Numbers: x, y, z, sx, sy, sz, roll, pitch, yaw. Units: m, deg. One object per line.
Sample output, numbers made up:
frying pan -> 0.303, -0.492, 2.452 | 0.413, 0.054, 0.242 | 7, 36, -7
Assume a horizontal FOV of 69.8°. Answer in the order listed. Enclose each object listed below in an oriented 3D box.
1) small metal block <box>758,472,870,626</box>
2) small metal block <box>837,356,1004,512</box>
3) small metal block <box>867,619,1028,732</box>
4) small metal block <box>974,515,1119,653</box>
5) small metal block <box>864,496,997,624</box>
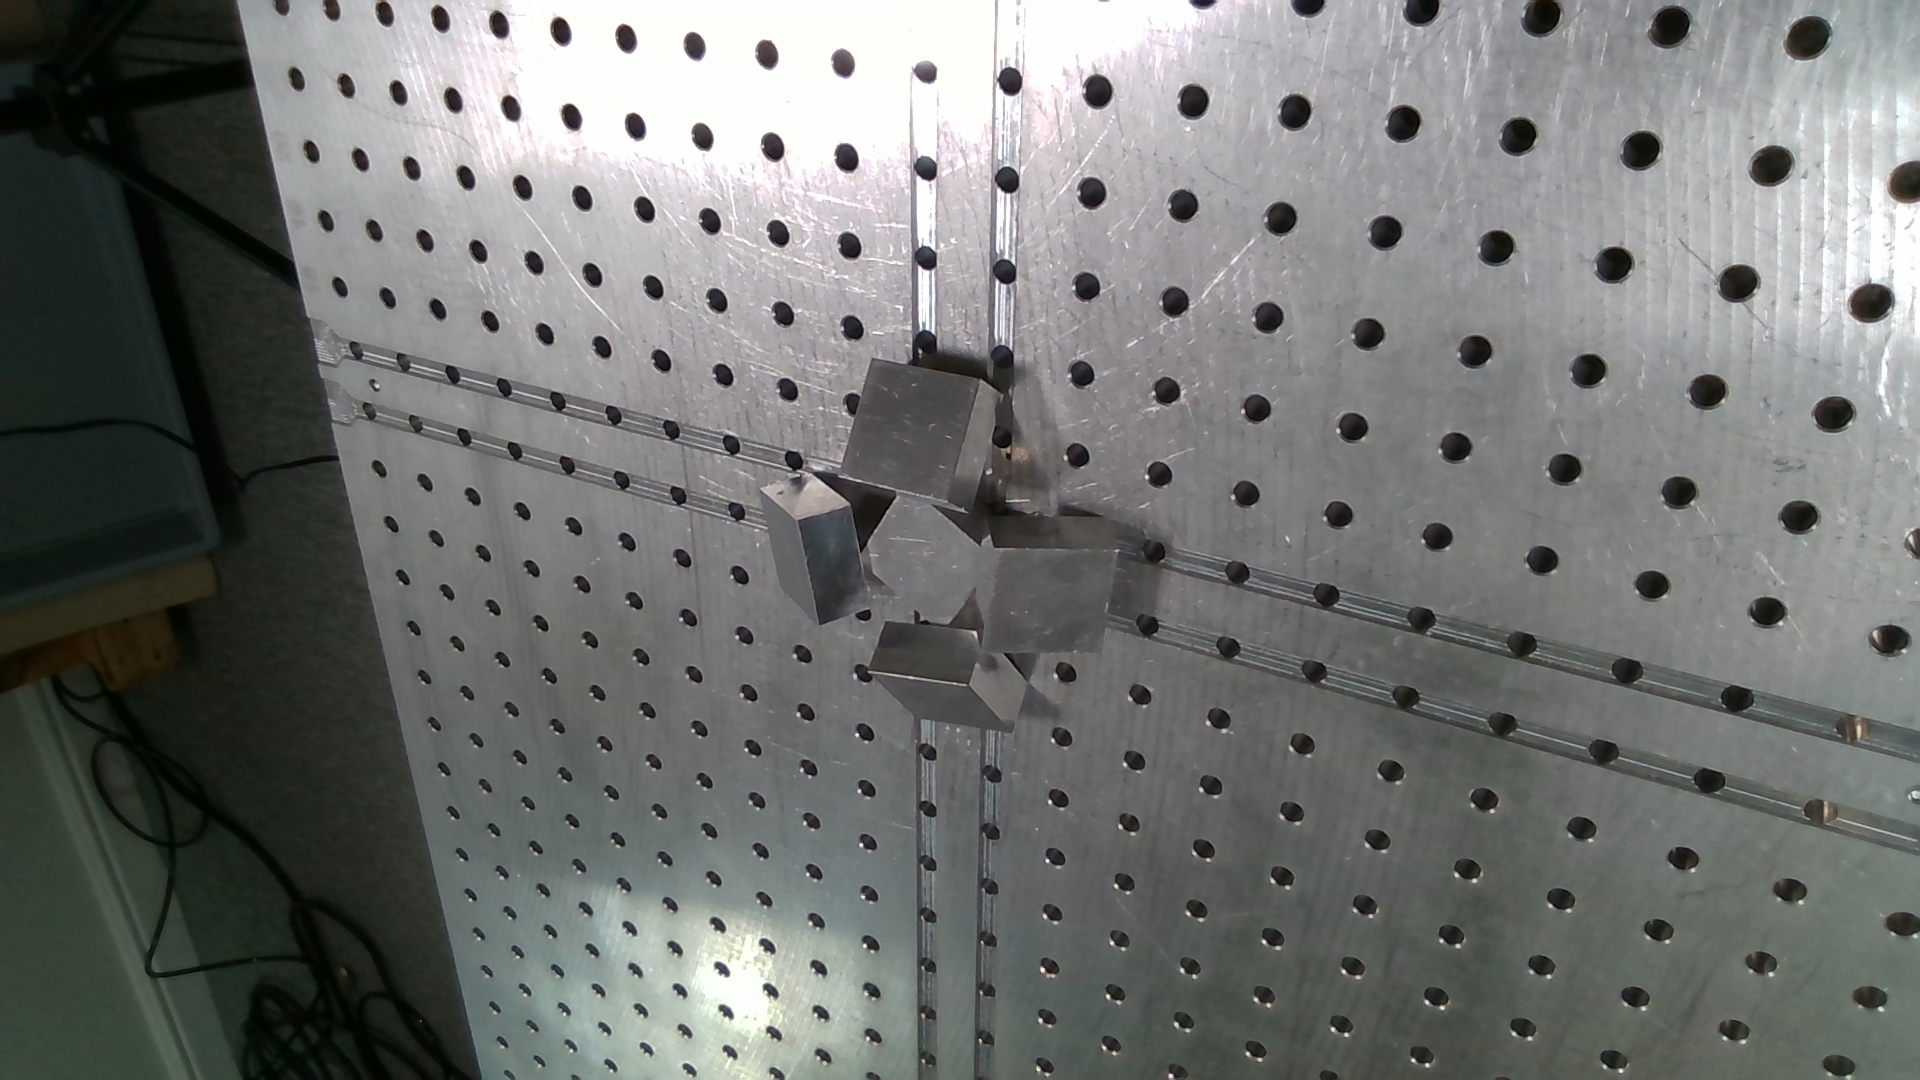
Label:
small metal block -> -0.065, 0.003, 0.608 | 0.050, 0.025, 0.050 | 36, 140, 58
small metal block -> -0.016, -0.043, 0.554 | 0.050, 0.025, 0.050 | 14, 87, 25
small metal block -> -0.005, 0.060, 0.603 | 0.050, 0.025, 0.050 | 5, 152, 29
small metal block -> 0.033, 0.018, 0.556 | 0.050, 0.025, 0.050 | 1, 121, -9
small metal block -> -0.009, 0.003, 0.590 | 0.050, 0.025, 0.050 | 41, 129, 6
